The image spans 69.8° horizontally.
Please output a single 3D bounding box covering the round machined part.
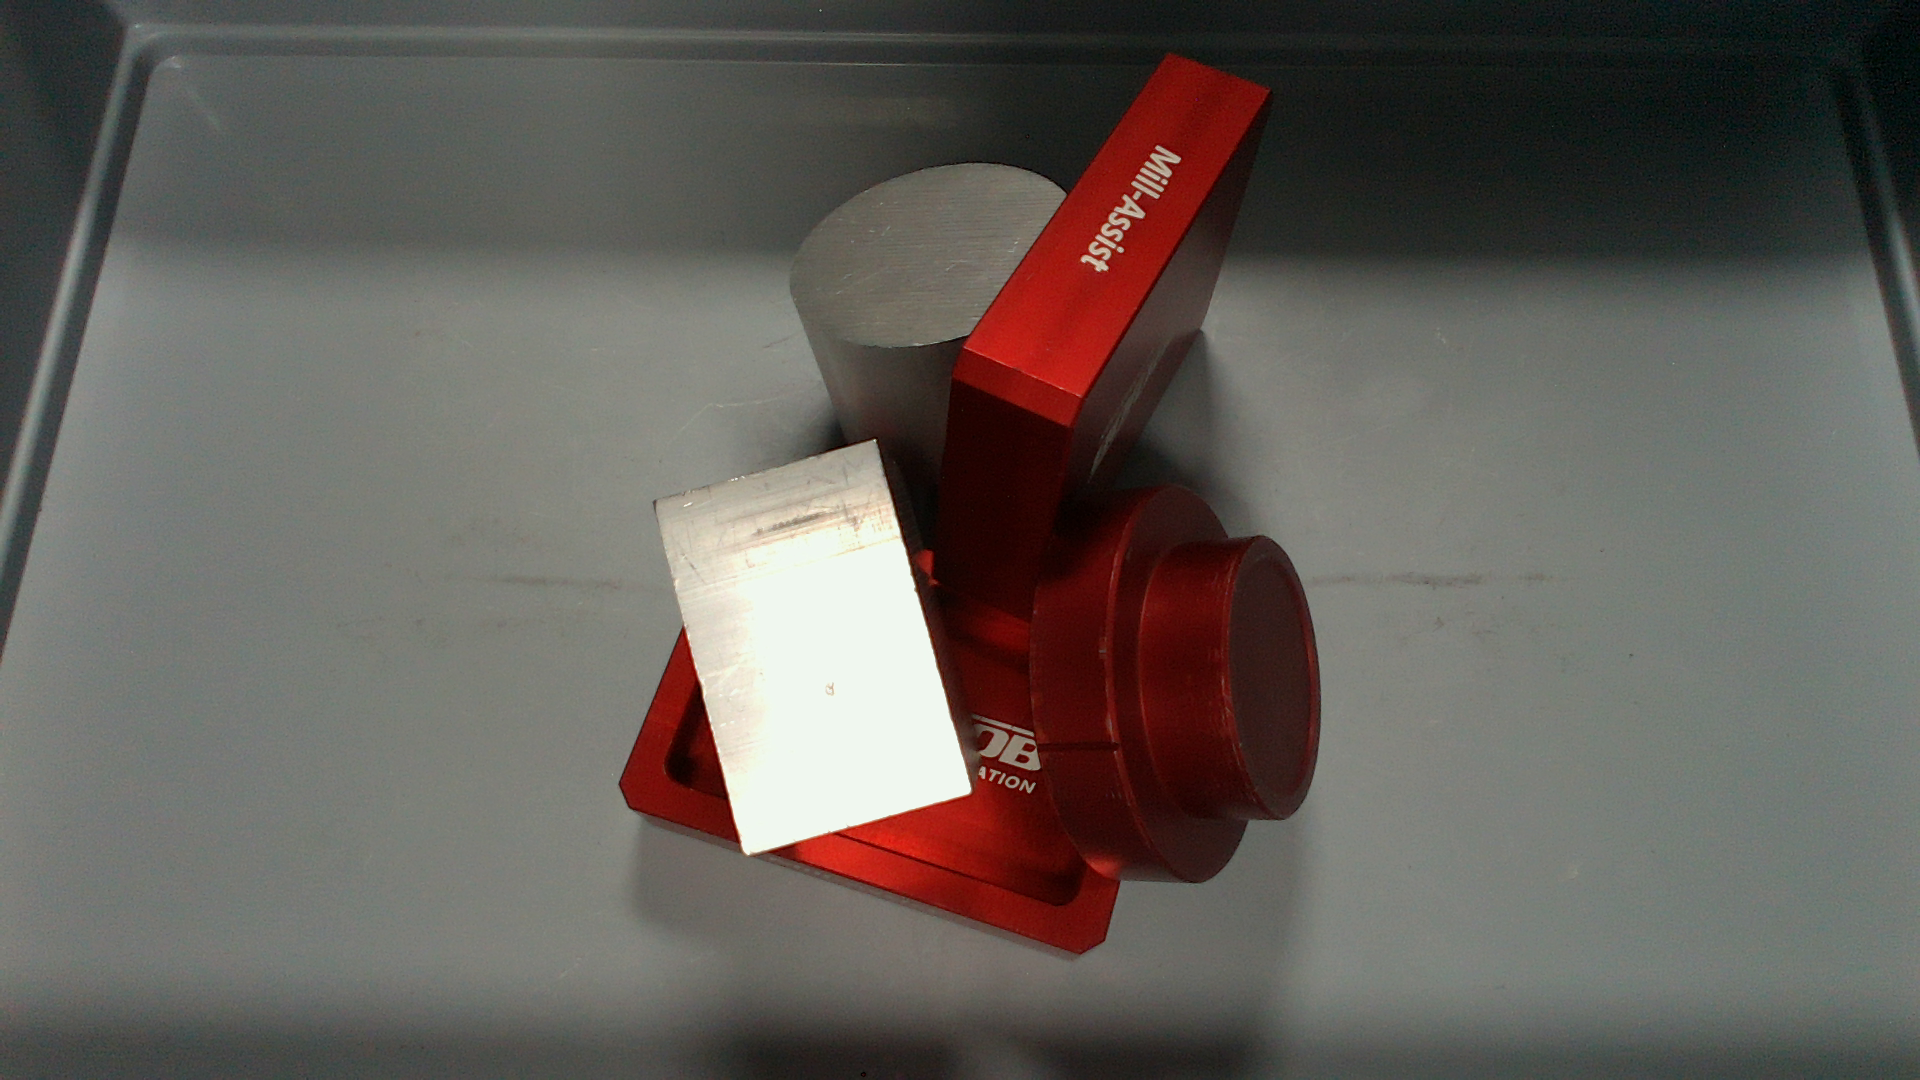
[{"bbox_3d":[0.059,0.034,0.338,0.042,0.098,0.098,-6,67,30],"label":"round machined part"}]

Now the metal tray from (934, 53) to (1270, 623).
[{"bbox_3d":[0.037,-0.053,0.362,0.030,0.090,0.130,24,56,12],"label":"metal tray"}]

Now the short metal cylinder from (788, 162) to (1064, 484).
[{"bbox_3d":[-0.002,-0.062,0.387,0.080,0.050,0.080,-8,46,8],"label":"short metal cylinder"}]

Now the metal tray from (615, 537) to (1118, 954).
[{"bbox_3d":[-0.014,0.049,0.372,0.130,0.030,0.090,16,71,6],"label":"metal tray"}]

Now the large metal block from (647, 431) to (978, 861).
[{"bbox_3d":[-0.030,0.024,0.331,0.050,0.080,0.080,-16,87,1],"label":"large metal block"}]
